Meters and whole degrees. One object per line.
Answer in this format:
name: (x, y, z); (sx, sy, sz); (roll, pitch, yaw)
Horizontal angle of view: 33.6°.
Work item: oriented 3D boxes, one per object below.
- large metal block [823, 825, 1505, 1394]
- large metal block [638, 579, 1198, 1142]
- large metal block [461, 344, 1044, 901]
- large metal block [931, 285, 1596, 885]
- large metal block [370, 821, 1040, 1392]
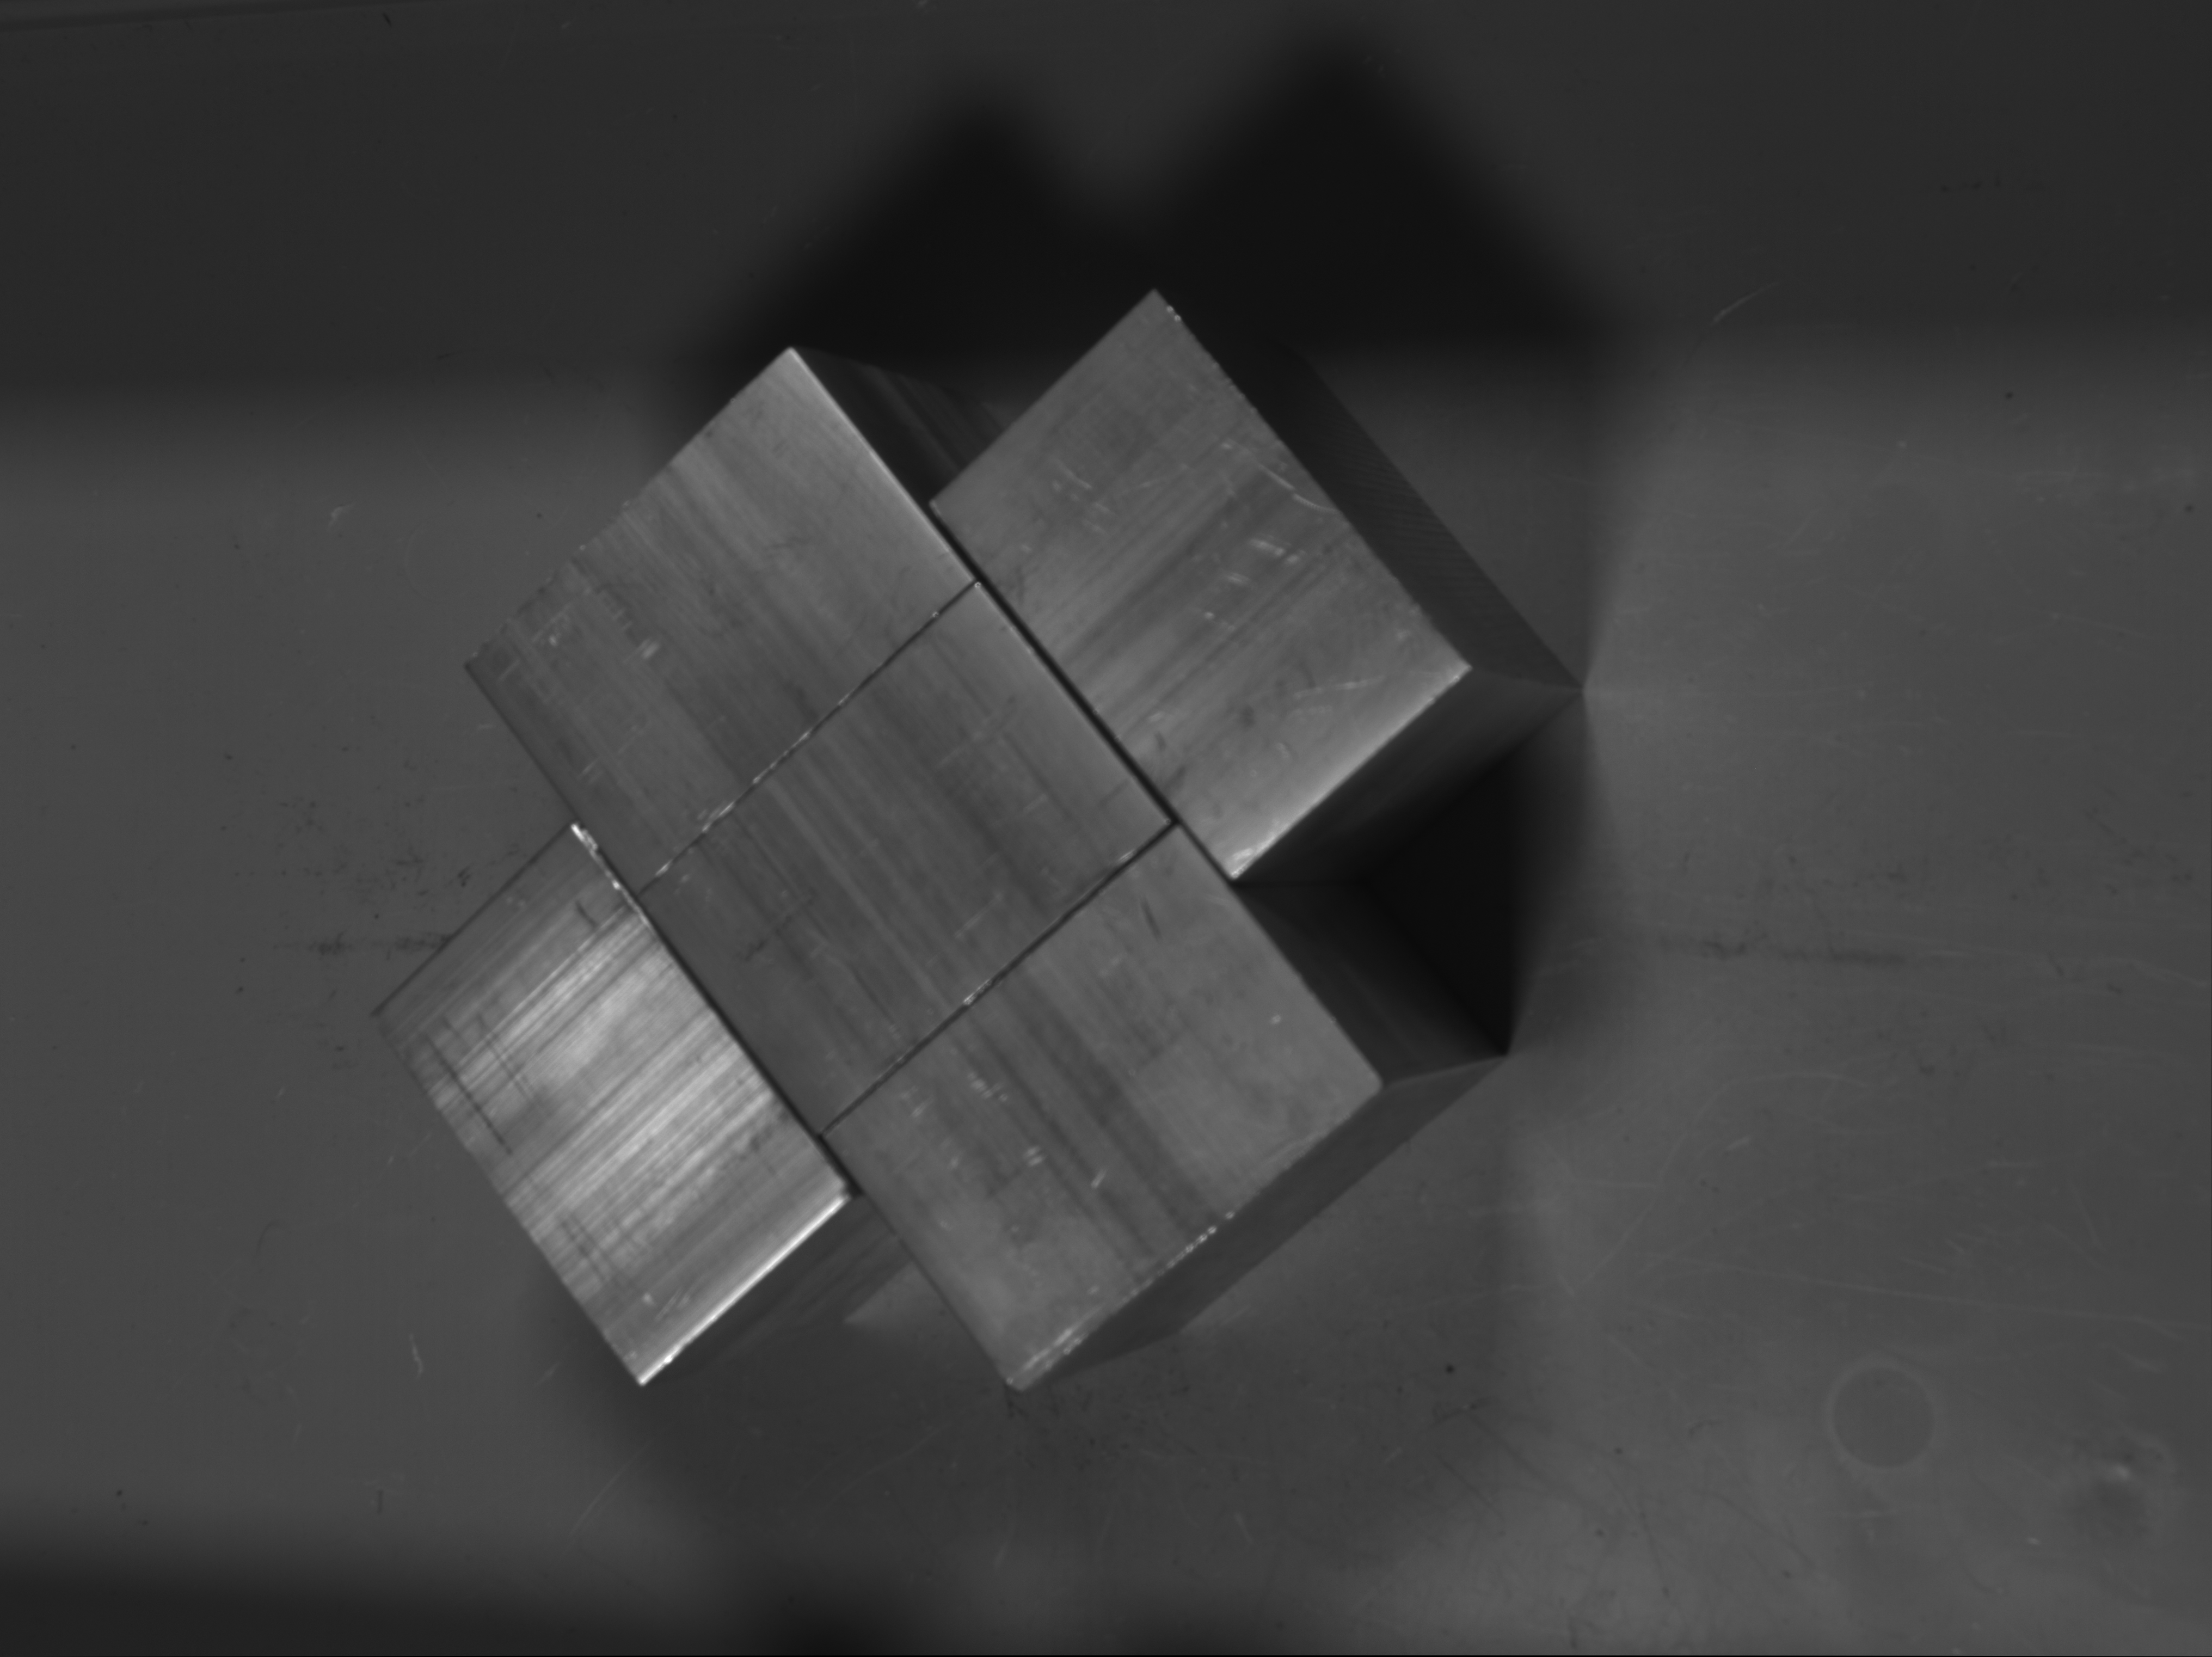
large metal block: (0.012, 0.045, 0.611); (0.080, 0.080, 0.050); (-42, 77, 15)
large metal block: (-0.019, 0.006, 0.622); (0.080, 0.080, 0.050); (-42, 77, 15)
large metal block: (-0.050, -0.033, 0.632); (0.080, 0.080, 0.050); (-42, 77, 15)
large metal block: (0.028, -0.038, 0.605); (0.050, 0.080, 0.080); (-42, 77, 15)
large metal block: (-0.068, 0.046, 0.639); (0.050, 0.080, 0.080); (-42, 77, 15)
